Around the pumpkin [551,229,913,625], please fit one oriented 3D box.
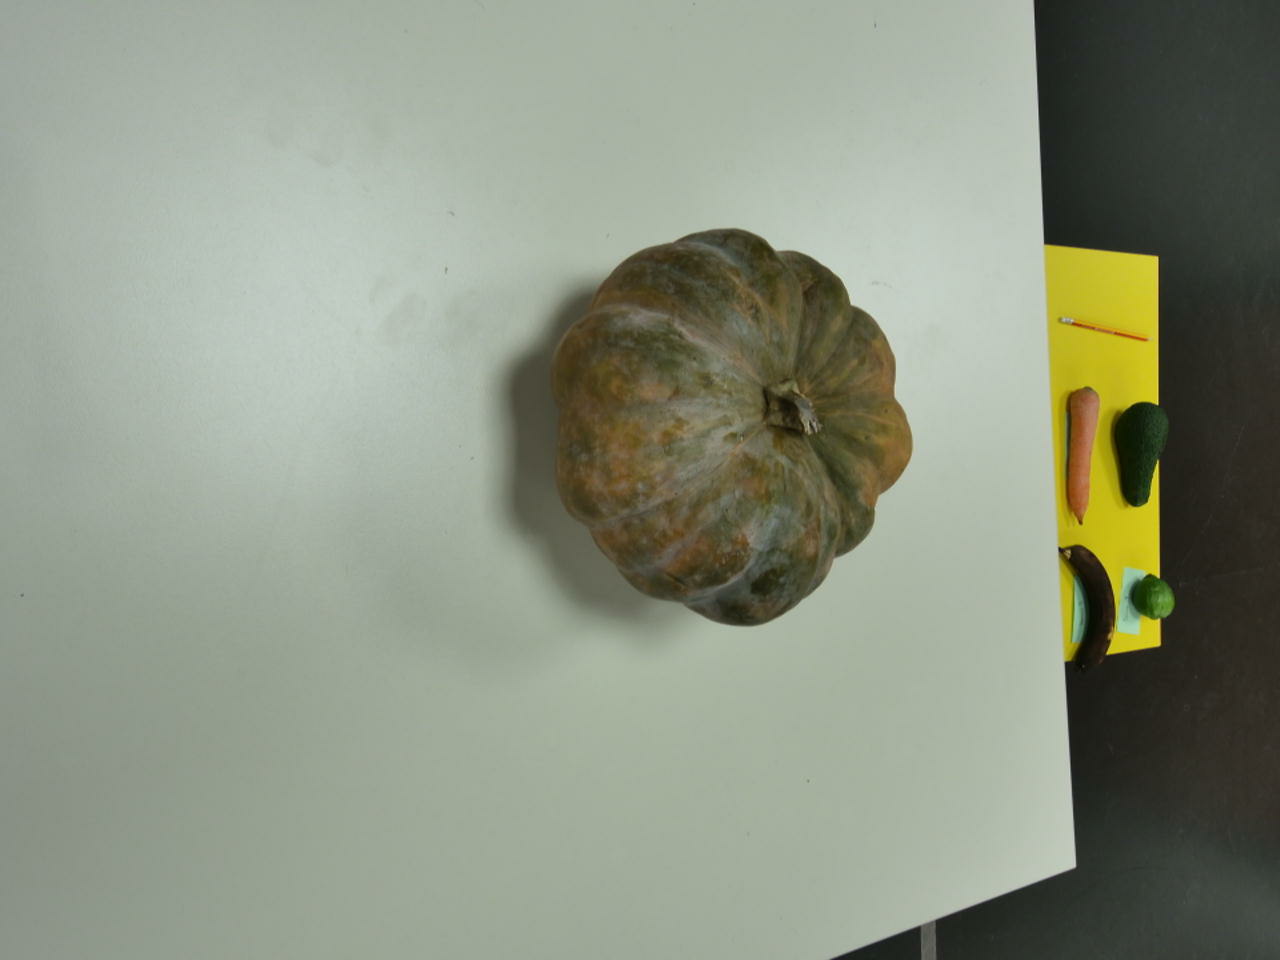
[{"bbox_3d":[0.059,-0.039,0.651,0.252,0.169,0.252,0,91,-28],"label":"pumpkin"}]
